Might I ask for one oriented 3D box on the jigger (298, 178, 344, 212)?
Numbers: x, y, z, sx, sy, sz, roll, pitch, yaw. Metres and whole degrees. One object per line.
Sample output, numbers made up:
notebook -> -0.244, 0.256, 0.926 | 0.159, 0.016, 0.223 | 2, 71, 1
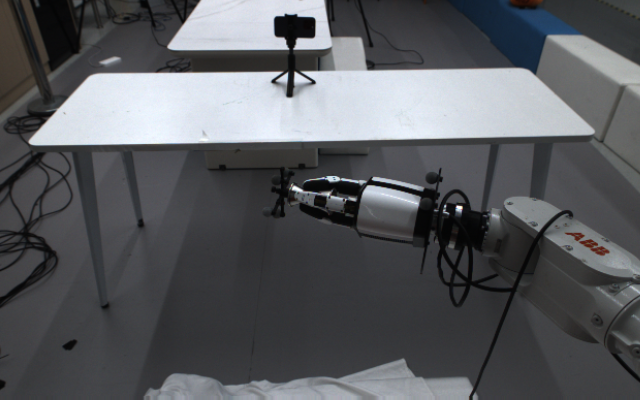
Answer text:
jigger -> -0.006, -0.006, 0.759 | 0.071, 0.043, 0.043 | 10, 35, 16
